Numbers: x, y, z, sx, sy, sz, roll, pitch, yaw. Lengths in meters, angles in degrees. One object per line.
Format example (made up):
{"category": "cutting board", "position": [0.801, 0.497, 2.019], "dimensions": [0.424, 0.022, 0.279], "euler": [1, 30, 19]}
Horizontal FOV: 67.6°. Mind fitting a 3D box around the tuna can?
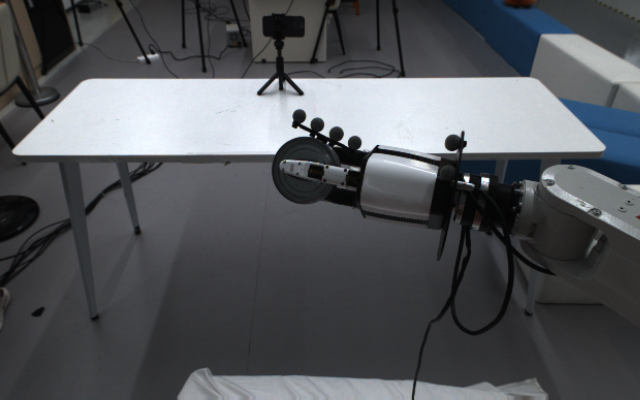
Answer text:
{"category": "tuna can", "position": [-0.015, -0.038, 0.625], "dimensions": [0.085, 0.085, 0.034], "euler": [10, 5, 11]}
